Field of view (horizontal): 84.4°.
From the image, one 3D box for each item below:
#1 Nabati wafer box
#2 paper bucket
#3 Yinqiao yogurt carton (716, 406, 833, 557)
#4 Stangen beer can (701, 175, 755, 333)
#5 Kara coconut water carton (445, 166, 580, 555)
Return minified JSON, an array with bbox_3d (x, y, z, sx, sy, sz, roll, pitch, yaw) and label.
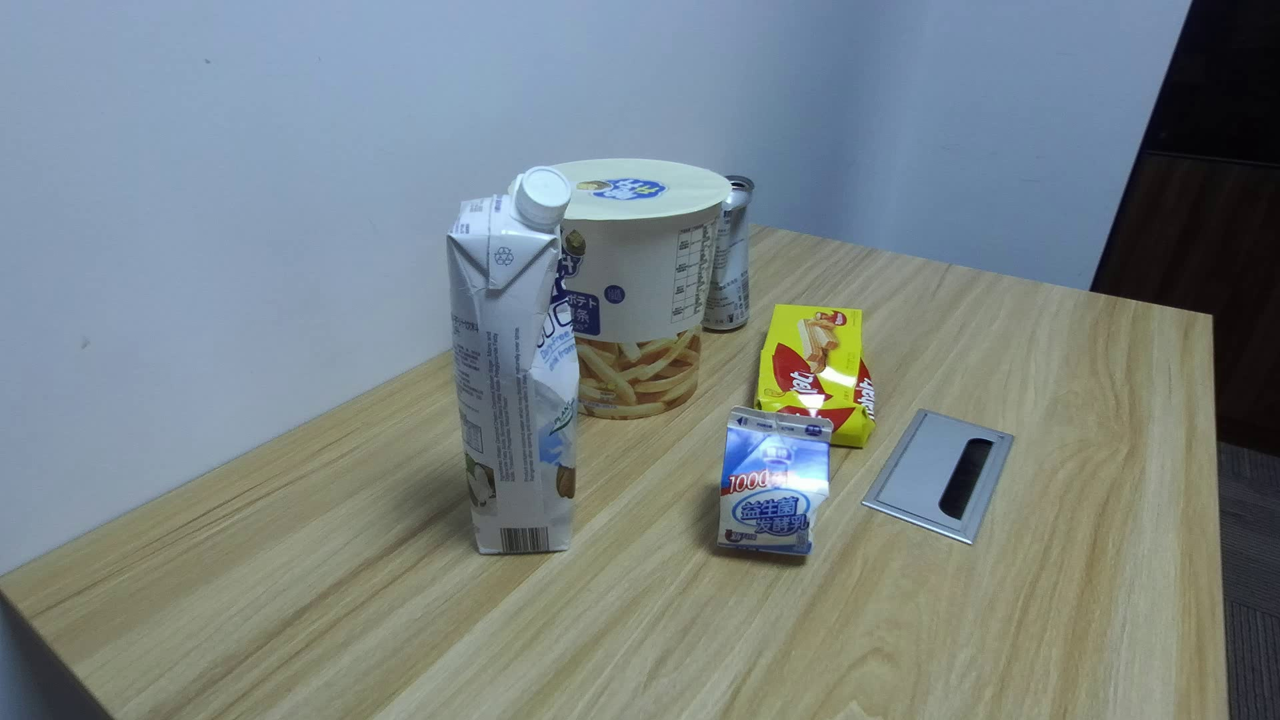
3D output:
[{"bbox_3d":[0.170,0.009,0.675,0.106,0.042,0.204,6,31,13],"label":"Nabati wafer box"},{"bbox_3d":[-0.017,-0.066,0.649,0.198,0.195,0.198,0,29,0],"label":"paper bucket"},{"bbox_3d":[0.093,0.078,0.488,0.074,0.097,0.080,5,21,6],"label":"Yinqiao yogurt carton"},{"bbox_3d":[0.090,-0.114,0.770,0.066,0.162,0.077,-7,27,-13],"label":"Stangen beer can"},{"bbox_3d":[-0.079,0.008,0.456,0.078,0.255,0.083,6,29,8],"label":"Kara coconut water carton"}]
